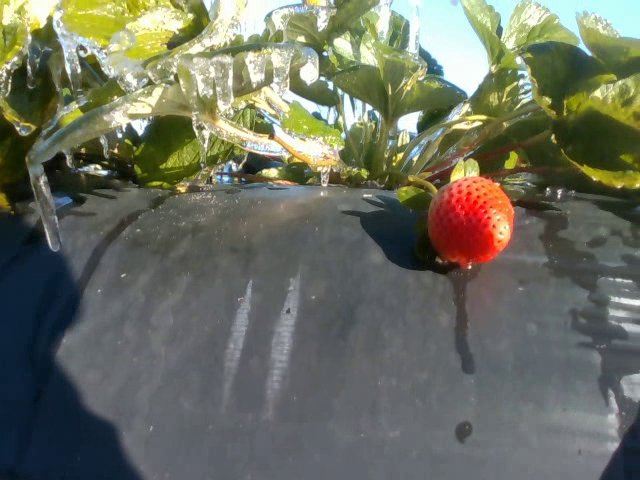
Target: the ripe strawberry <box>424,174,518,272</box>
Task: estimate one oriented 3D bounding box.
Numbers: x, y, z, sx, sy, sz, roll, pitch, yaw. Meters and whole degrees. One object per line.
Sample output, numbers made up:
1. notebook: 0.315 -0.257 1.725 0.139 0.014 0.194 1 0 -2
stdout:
1. ripe strawberry: 0.064 -0.006 0.241 0.039 0.041 0.053 -7 18 1
